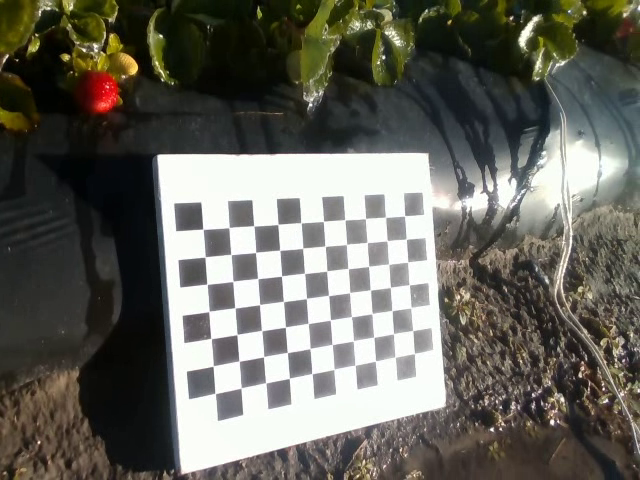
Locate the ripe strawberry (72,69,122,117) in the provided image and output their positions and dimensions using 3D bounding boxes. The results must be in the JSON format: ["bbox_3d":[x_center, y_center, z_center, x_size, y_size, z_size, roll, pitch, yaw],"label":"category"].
[{"bbox_3d":[-0.143,-0.091,0.386,0.039,0.040,0.039,-15,30,-17],"label":"ripe strawberry"}]
